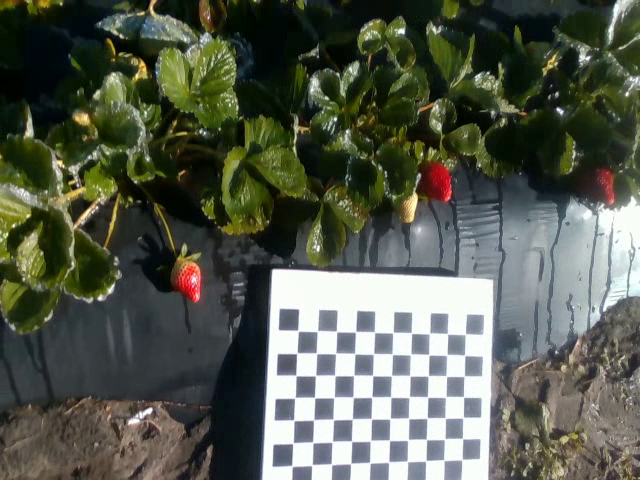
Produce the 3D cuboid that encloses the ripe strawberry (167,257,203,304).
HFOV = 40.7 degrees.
[{"bbox_3d":[-0.135,0.042,0.853,0.039,0.053,0.040,-20,-9,-21],"label":"ripe strawberry"}]
